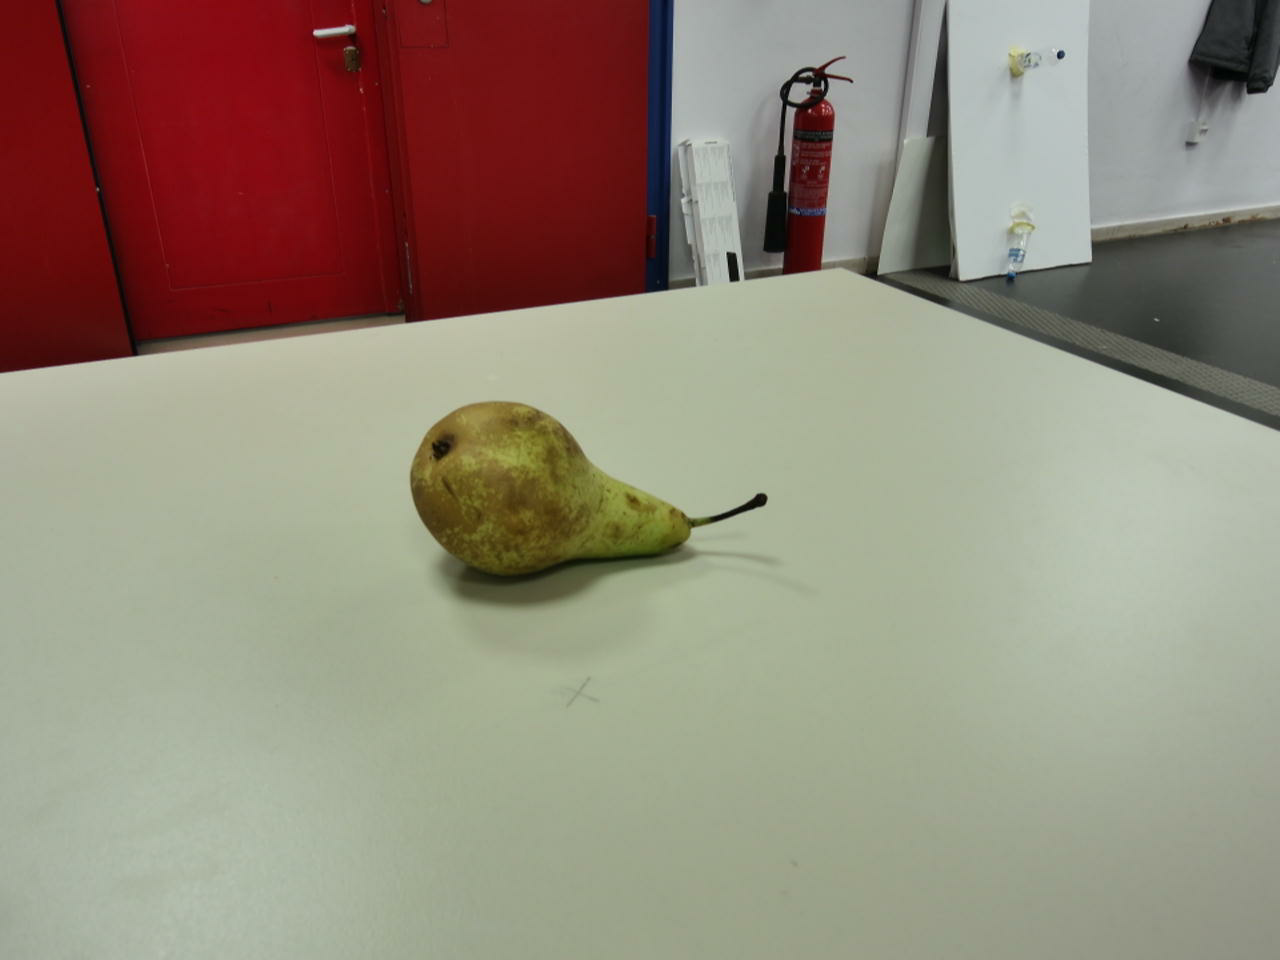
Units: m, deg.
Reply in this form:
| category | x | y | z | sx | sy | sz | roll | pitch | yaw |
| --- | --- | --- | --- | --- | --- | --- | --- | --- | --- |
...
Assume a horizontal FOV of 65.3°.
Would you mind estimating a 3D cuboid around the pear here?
| category | x | y | z | sx | sy | sz | roll | pitch | yaw |
| --- | --- | --- | --- | --- | --- | --- | --- | --- | --- |
| pear | -0.025 | -0.001 | 0.429 | 0.144 | 0.075 | 0.071 | -9 | 25 | -17 |
